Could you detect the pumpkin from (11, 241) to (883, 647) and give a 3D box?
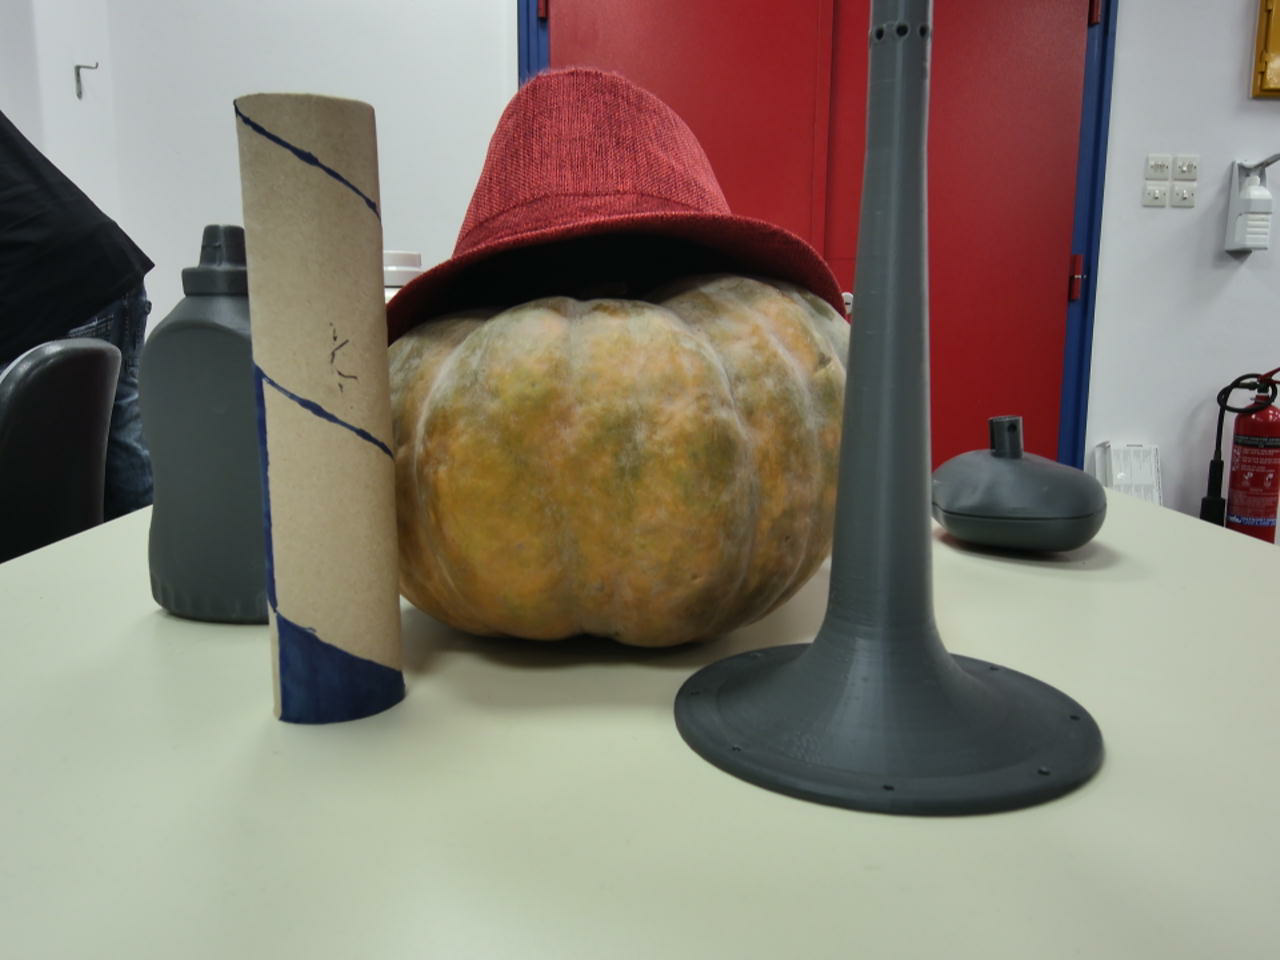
[{"bbox_3d":[-0.017,-0.014,0.483,0.252,0.168,0.252,0,7,0],"label":"pumpkin"}]
